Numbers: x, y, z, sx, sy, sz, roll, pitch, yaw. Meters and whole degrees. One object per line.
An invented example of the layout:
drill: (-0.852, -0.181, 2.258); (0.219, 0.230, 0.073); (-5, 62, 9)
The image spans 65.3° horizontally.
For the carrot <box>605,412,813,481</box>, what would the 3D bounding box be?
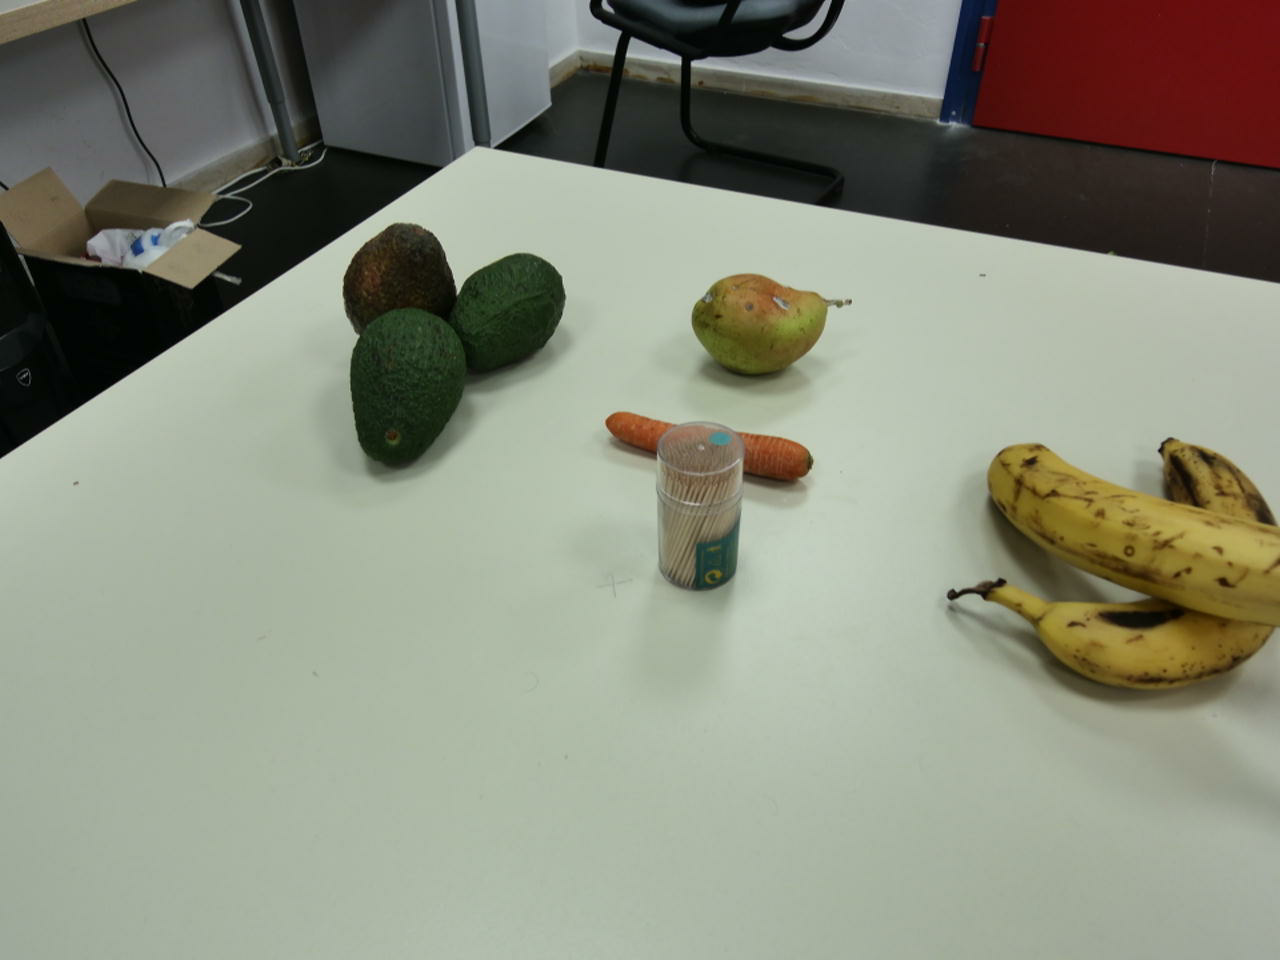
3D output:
carrot: (0.037, -0.021, 0.563); (0.122, 0.023, 0.024); (14, 40, 18)
